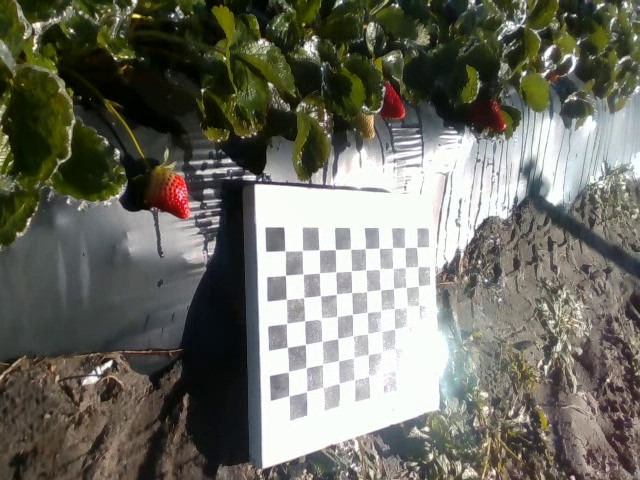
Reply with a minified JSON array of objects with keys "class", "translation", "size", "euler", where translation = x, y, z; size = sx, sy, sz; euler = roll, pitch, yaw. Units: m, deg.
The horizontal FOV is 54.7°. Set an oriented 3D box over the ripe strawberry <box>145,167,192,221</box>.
[{"class":"ripe strawberry","translation":[-0.125,-0.037,0.509],"size":[0.039,0.053,0.041],"euler":[-30,2,-40]}]
